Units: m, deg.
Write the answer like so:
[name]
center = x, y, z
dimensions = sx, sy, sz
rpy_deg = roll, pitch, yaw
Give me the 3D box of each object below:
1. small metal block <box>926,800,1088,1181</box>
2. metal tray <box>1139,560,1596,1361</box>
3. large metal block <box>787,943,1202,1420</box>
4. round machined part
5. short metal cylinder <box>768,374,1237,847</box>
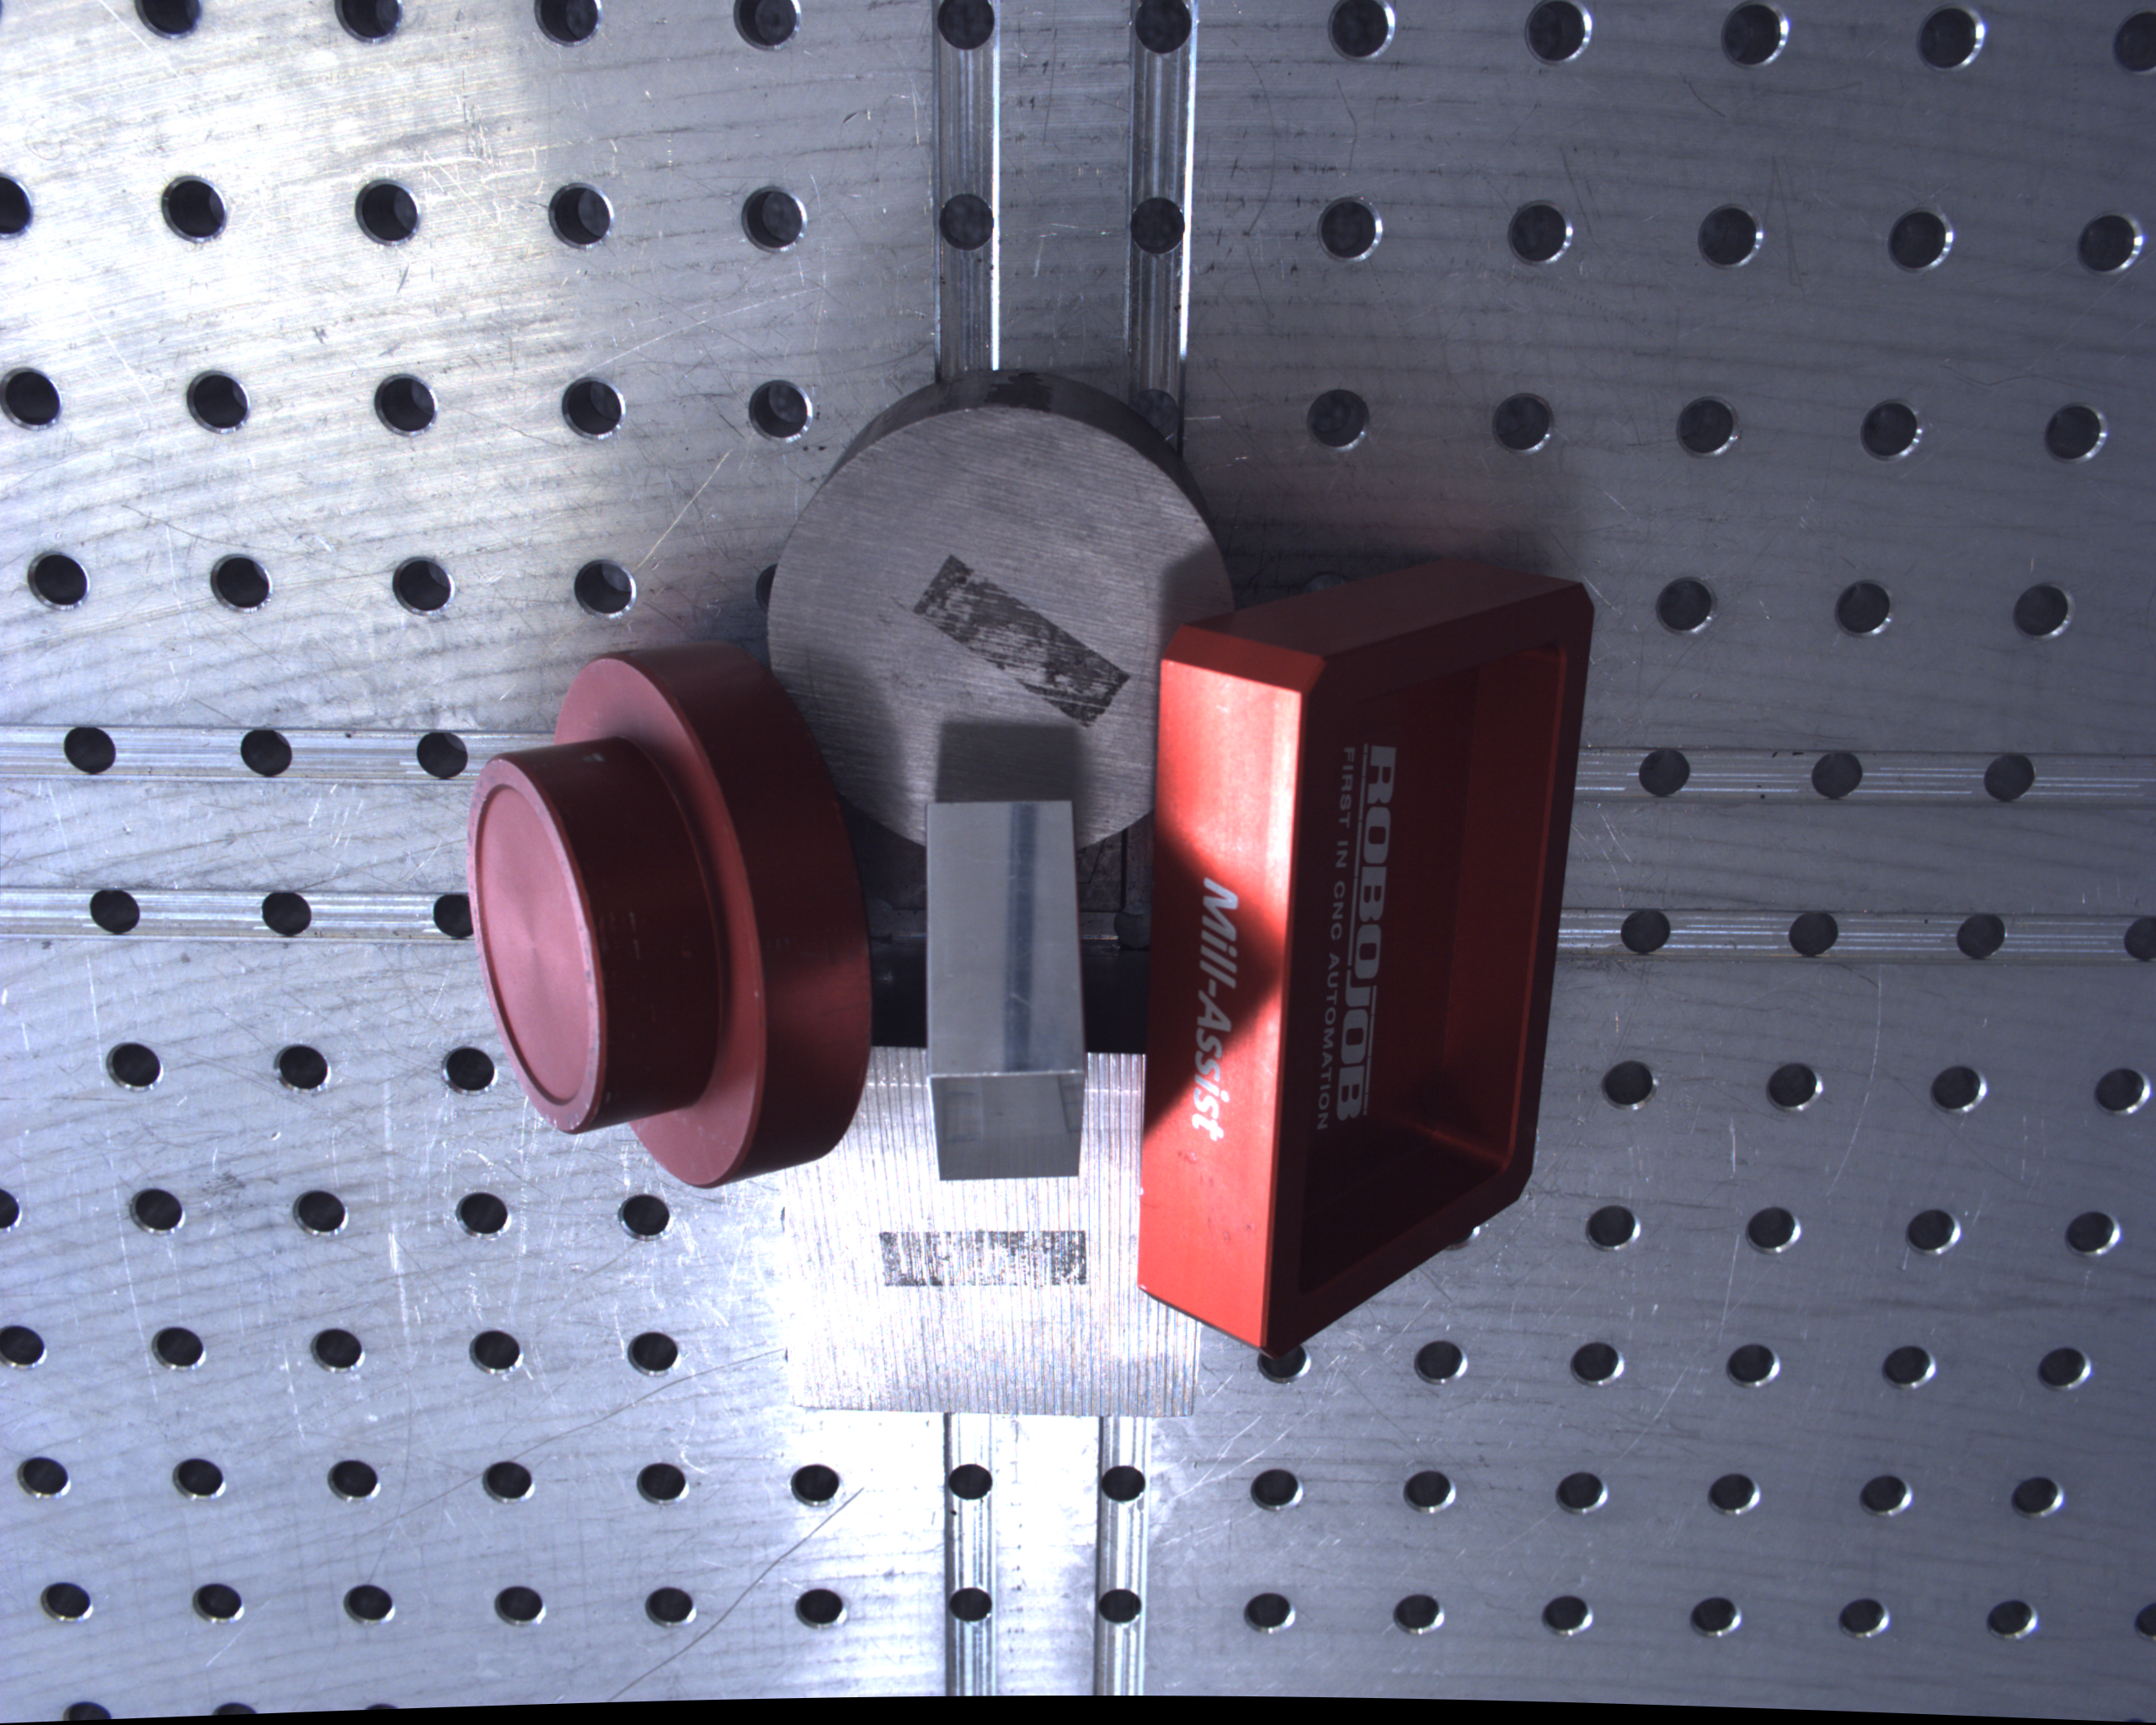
[small metal block]
center = -0.013, 0.023, 0.363
dimensions = 0.025, 0.050, 0.050
rpy_deg = -1, 152, -3
[metal tray]
center = 0.054, 0.015, 0.386
dimensions = 0.030, 0.091, 0.129
rpy_deg = 19, 116, 39
[large metal block]
center = -0.015, 0.063, 0.423
dimensions = 0.081, 0.050, 0.079
rpy_deg = 2, 110, -1
[round machined part]
center = -0.078, 0.012, 0.374
dimensions = 0.042, 0.098, 0.097
rpy_deg = -11, 114, -32
[short metal cylinder]
center = -0.013, -0.046, 0.382
dimensions = 0.081, 0.050, 0.079
rpy_deg = 0, 110, 0
